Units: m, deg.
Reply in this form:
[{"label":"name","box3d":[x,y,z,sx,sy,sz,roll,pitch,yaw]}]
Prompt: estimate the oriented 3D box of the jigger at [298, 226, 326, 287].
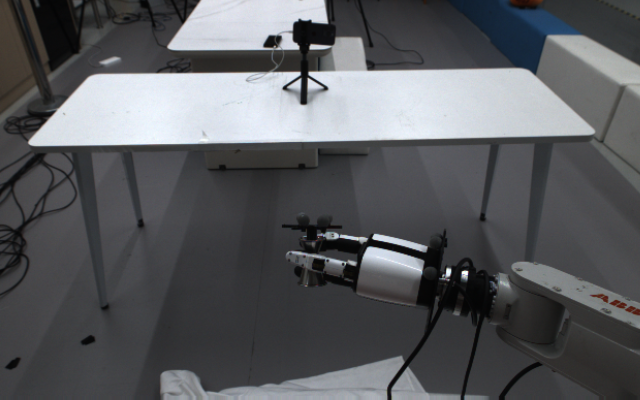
[{"label":"jigger","box3d":[-0.012,0.089,0.715,0.043,0.071,0.043,-1,2,0]}]
